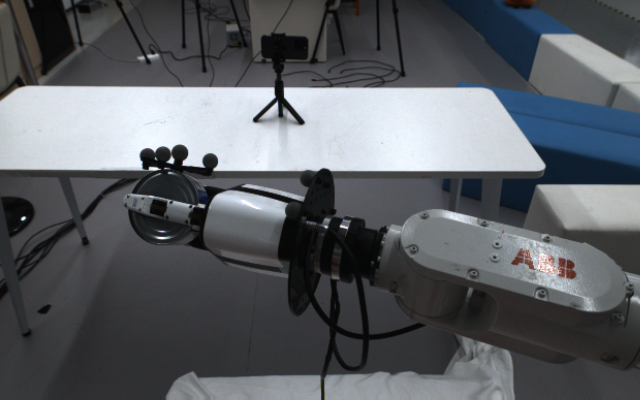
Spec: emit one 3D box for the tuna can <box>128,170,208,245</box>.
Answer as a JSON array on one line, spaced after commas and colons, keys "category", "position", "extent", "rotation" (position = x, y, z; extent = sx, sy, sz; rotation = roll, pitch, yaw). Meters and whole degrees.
[{"category": "tuna can", "position": [-0.170, 0.008, 0.551], "extent": [0.085, 0.085, 0.034], "rotation": [11, -5, 13]}]
